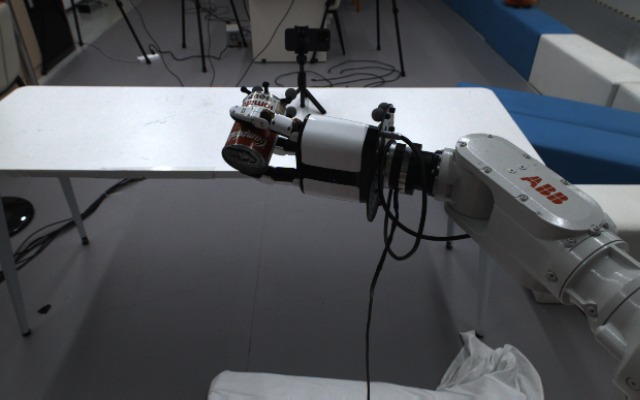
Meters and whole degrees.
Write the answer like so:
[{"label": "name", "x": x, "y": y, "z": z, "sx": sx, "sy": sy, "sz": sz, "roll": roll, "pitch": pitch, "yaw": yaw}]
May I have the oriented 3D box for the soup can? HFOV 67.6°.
[{"label": "soup can", "x": -0.093, "y": -0.097, "z": 0.697, "sx": 0.067, "sy": 0.067, "sz": 0.101, "roll": 9, "pitch": 60, "yaw": 10}]
